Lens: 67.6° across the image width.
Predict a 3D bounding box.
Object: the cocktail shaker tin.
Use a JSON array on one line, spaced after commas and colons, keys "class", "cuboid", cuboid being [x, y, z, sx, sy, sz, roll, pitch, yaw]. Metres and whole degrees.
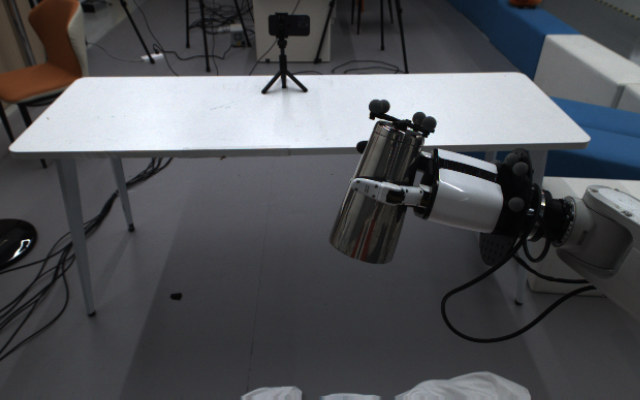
[{"class": "cocktail shaker tin", "cuboid": [0.079, -0.013, 0.639, 0.093, 0.170, 0.093, 15, 17, -5]}]
